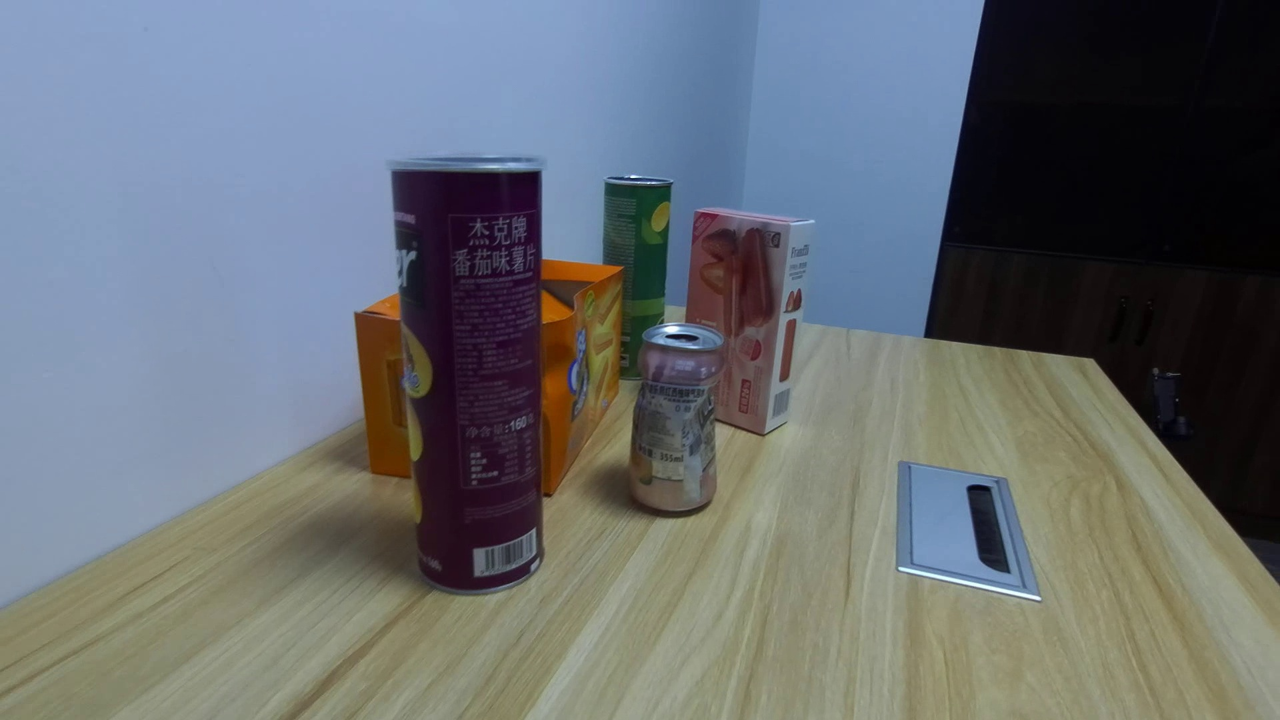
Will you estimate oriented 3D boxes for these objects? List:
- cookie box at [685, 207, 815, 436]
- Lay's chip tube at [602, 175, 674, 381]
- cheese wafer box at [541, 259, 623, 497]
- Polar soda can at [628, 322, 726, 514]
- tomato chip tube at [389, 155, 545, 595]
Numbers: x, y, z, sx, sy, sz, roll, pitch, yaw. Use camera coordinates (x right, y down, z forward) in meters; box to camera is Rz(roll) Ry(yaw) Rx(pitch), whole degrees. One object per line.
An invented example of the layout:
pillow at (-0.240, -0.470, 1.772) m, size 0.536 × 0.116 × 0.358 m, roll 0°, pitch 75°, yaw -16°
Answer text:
cookie box at (0.091, -0.036, 0.629) m, size 0.095 × 0.184 × 0.048 m, roll 16°, pitch 20°, yaw 34°
Lay's chip tube at (-0.005, -0.085, 0.732) m, size 0.071 × 0.202 × 0.071 m, roll 3°, pitch 18°, yaw -1°
cheese wafer box at (-0.107, 0.001, 0.594) m, size 0.152 × 0.132 × 0.230 m, roll 7°, pitch 19°, yaw 10°
Polar soda can at (0.027, 0.041, 0.495) m, size 0.074 × 0.122 × 0.067 m, roll -12°, pitch 23°, yaw -34°
tomato chip tube at (-0.091, 0.010, 0.395) m, size 0.078 × 0.234 × 0.078 m, roll 2°, pitch 19°, yaw 0°
